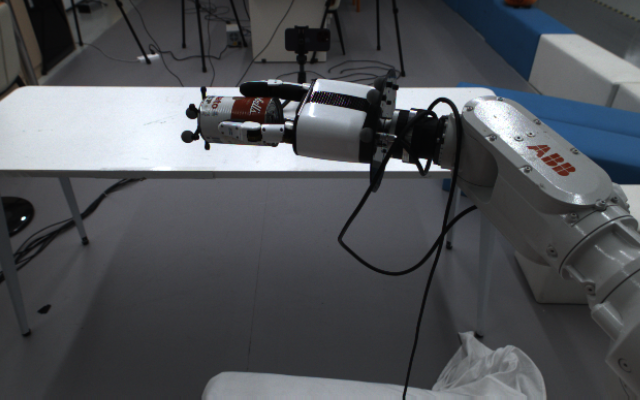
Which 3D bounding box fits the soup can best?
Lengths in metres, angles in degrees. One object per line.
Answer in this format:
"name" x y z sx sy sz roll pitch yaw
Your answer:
"soup can" -0.108 -0.109 0.674 0.101 0.067 0.067 5 34 14
